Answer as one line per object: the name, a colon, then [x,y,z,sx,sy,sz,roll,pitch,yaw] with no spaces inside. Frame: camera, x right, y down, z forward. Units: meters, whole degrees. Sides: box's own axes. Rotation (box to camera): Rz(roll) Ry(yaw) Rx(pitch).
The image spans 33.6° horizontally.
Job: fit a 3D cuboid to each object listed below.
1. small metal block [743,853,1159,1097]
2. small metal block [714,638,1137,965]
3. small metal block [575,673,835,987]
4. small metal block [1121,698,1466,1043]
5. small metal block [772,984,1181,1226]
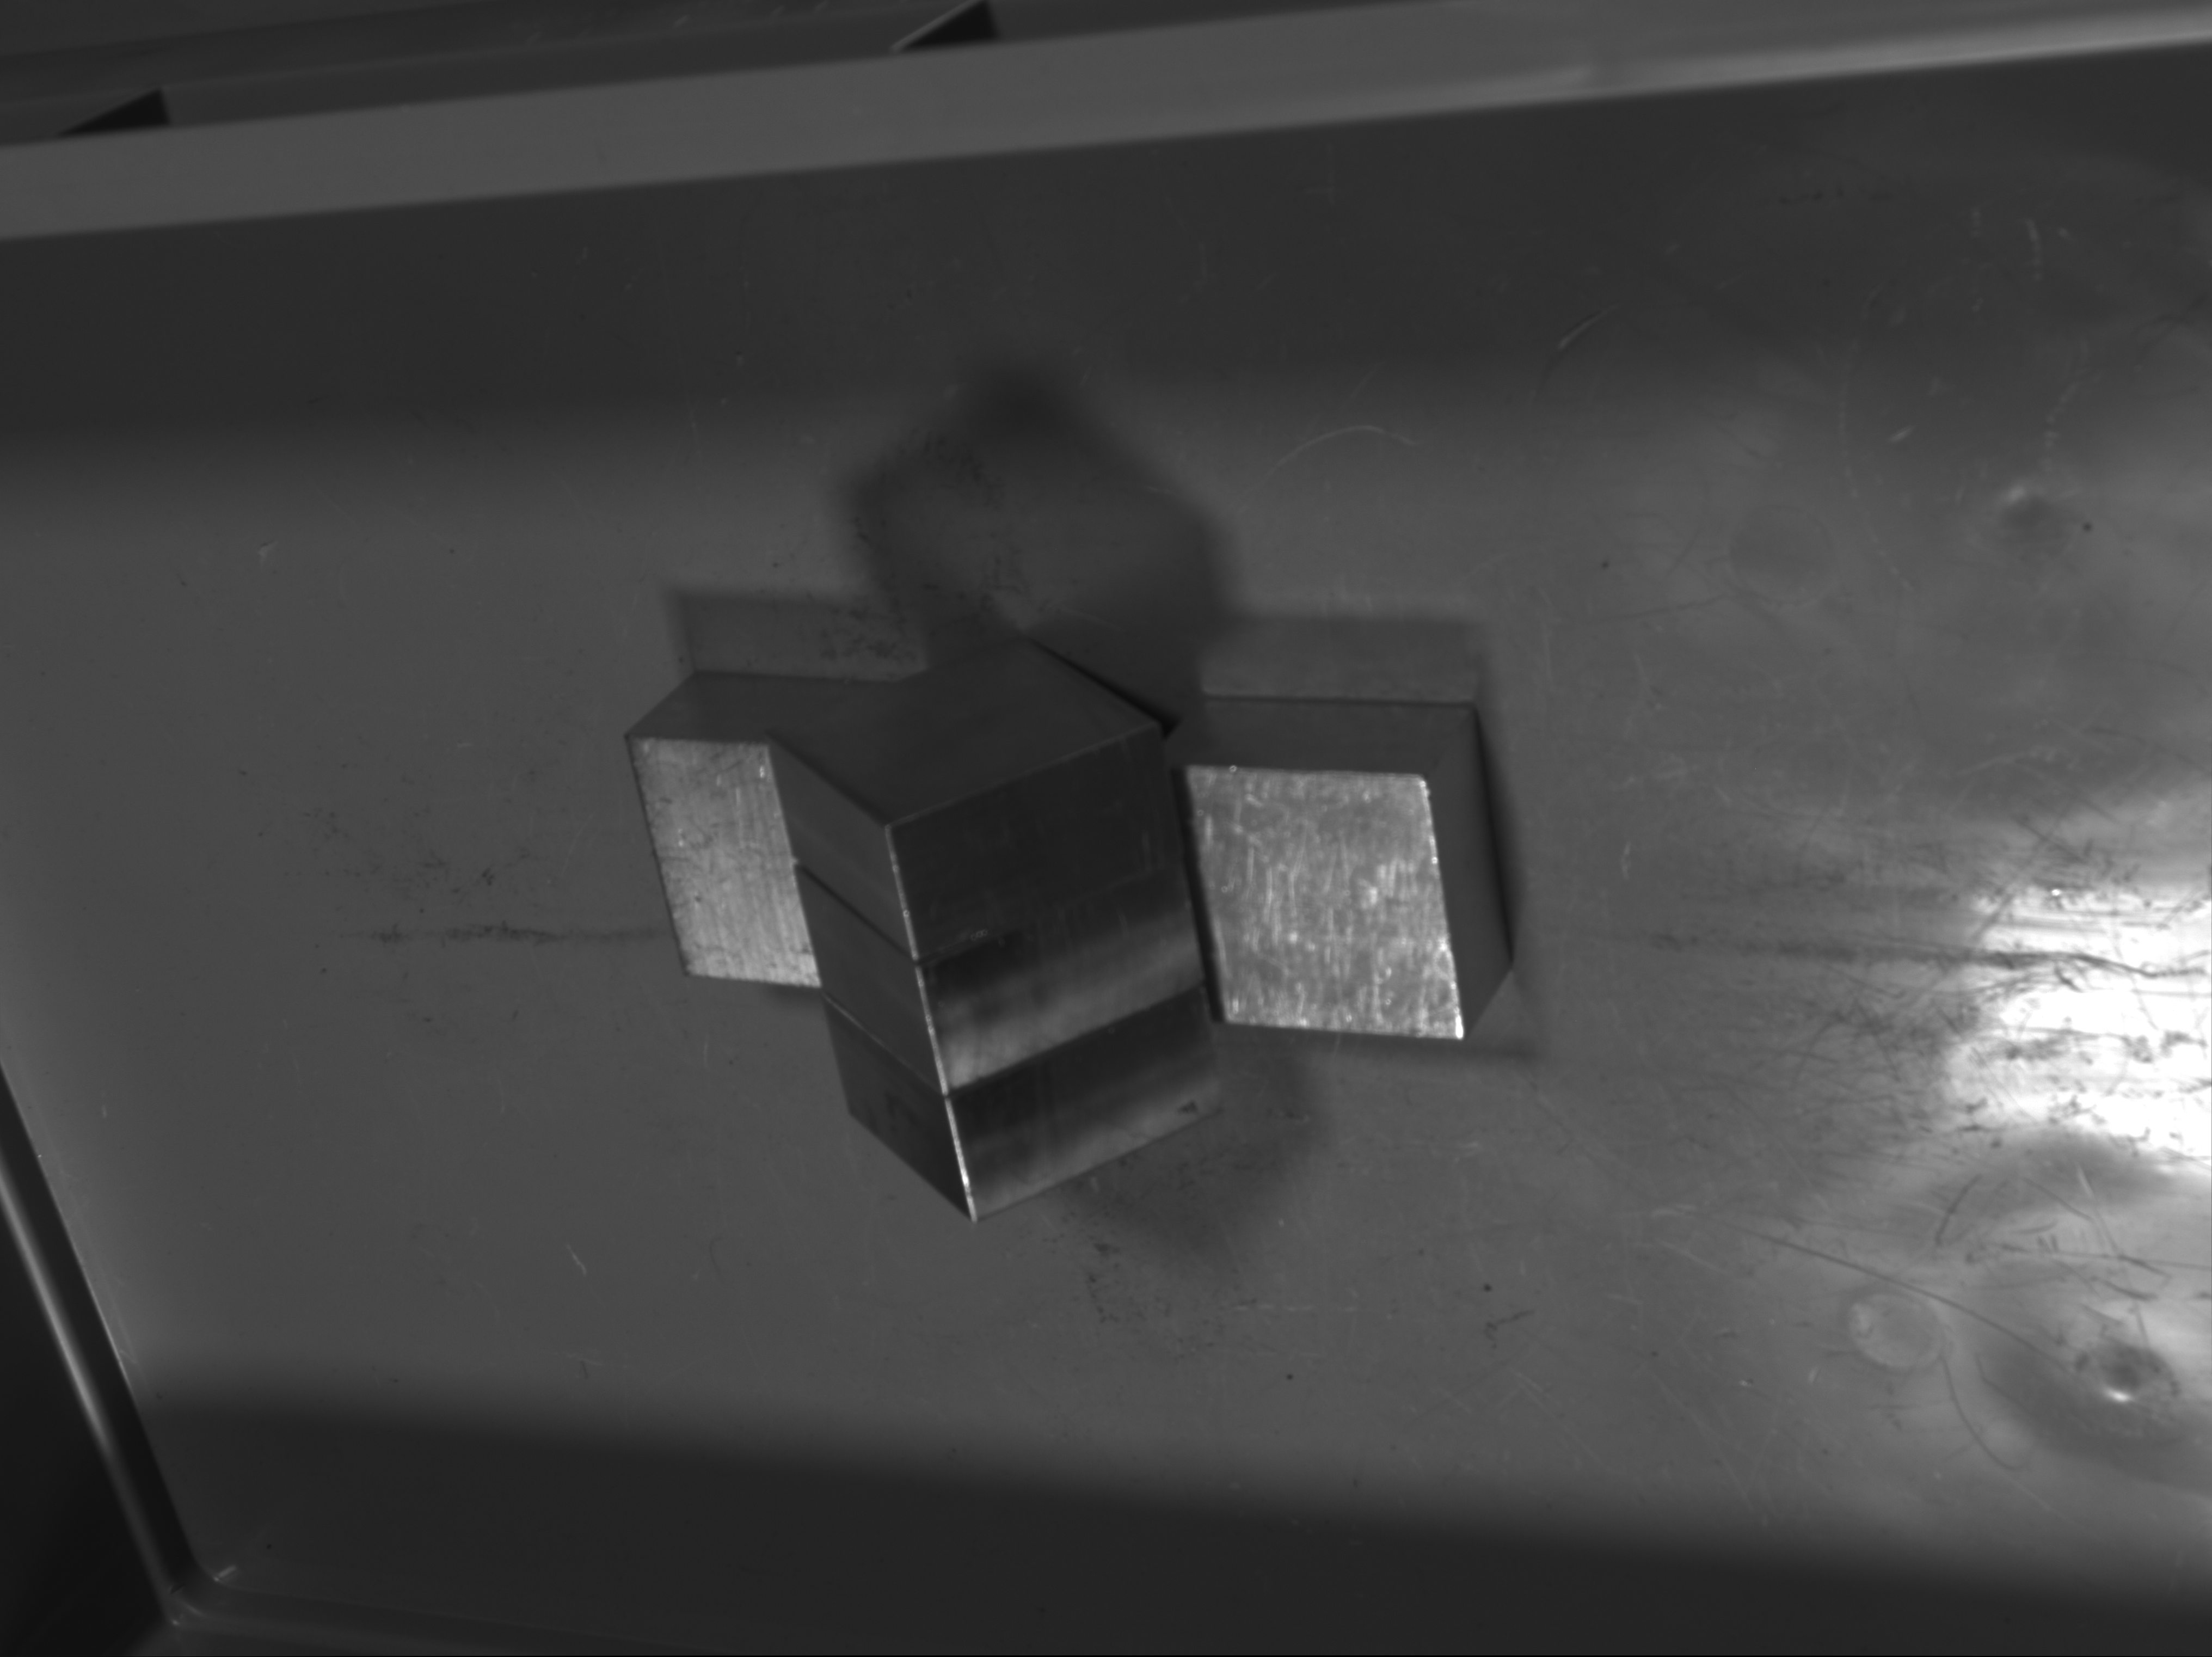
small metal block: [-0.027,0.017,0.624,0.050,0.050,0.025,32,138,55]
small metal block: [-0.030,-0.006,0.612,0.050,0.050,0.025,33,139,54]
small metal block: [-0.063,0.001,0.662,0.050,0.025,0.050,4,120,25]
small metal block: [0.030,0.007,0.619,0.050,0.025,0.050,3,120,25]
small metal block: [-0.023,0.039,0.636,0.050,0.050,0.025,32,138,55]
